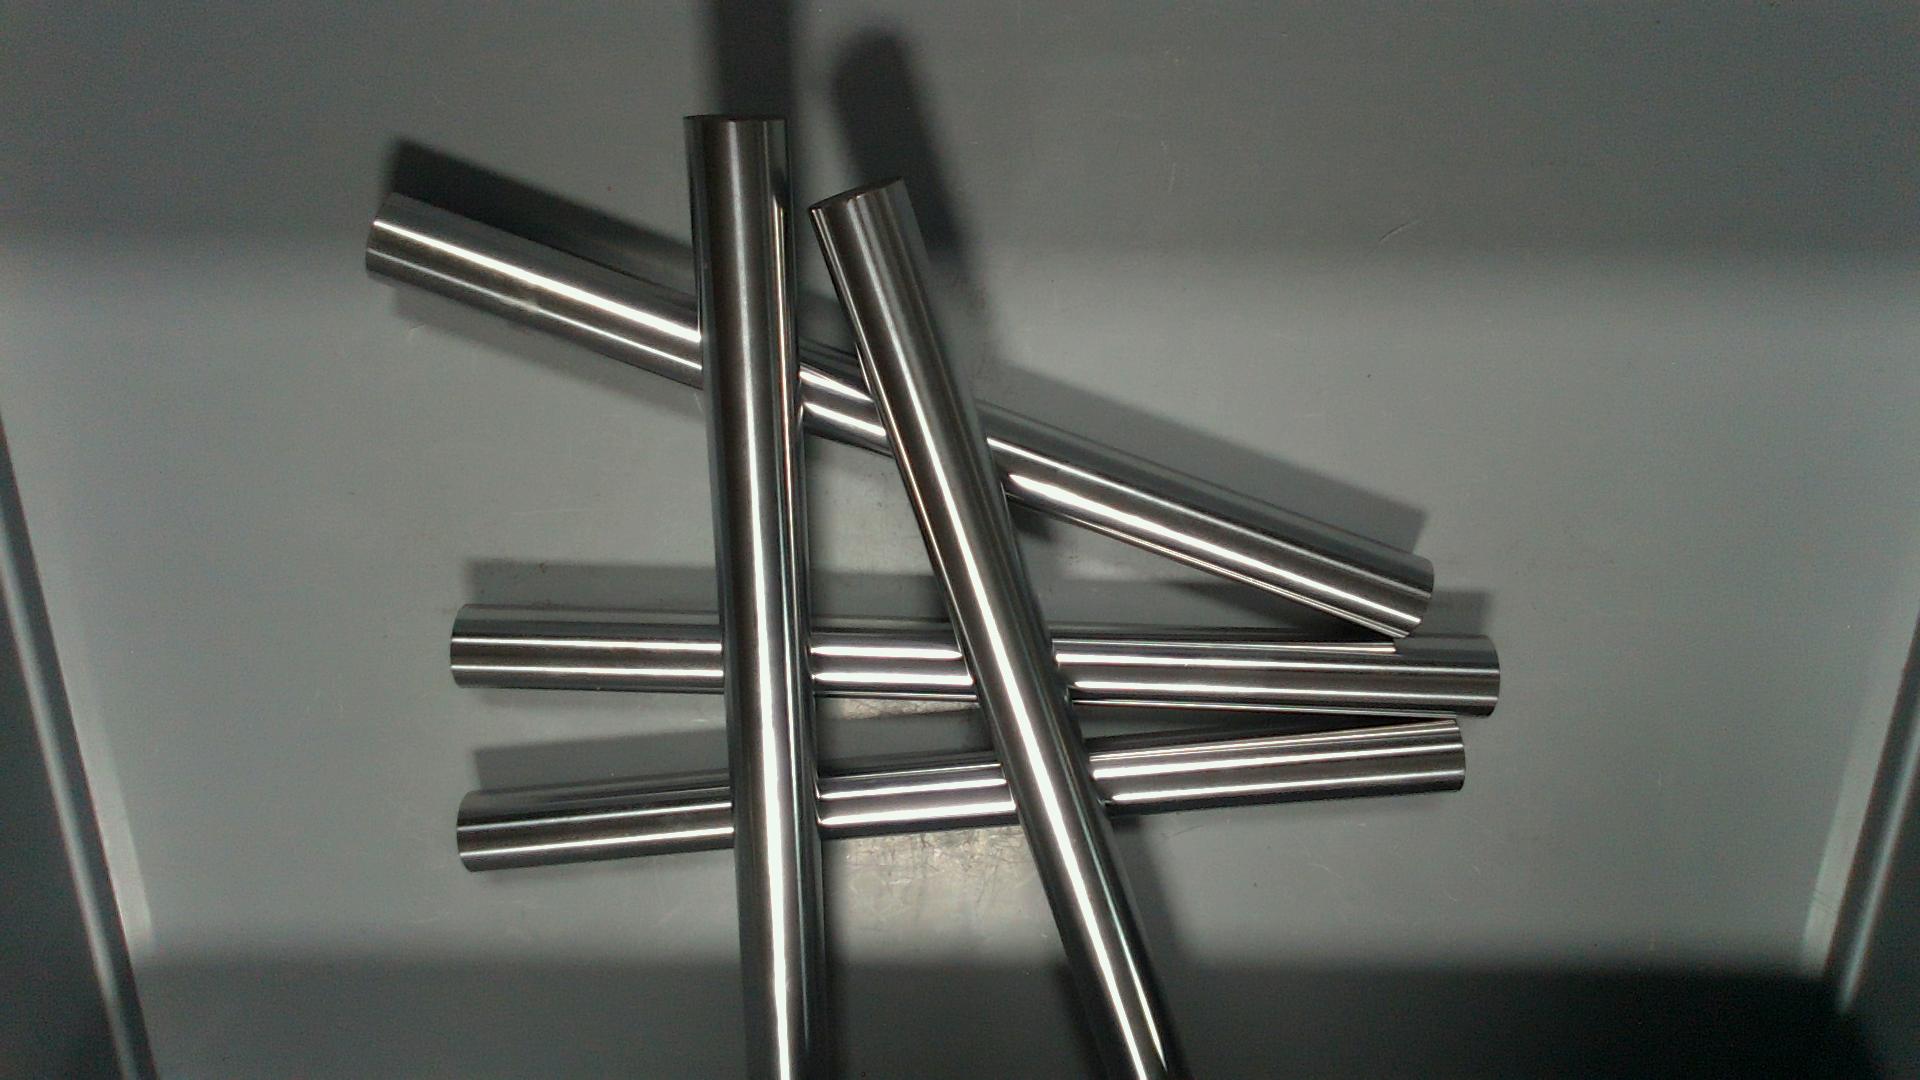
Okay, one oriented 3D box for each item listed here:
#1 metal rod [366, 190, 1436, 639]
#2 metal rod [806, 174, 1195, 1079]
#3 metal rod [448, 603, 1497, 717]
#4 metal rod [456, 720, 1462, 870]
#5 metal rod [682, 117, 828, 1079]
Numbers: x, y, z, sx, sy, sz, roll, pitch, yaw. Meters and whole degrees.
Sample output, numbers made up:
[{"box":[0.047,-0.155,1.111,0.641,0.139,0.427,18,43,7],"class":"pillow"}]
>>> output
[{"box":[-0.010,-0.032,0.381,0.300,0.025,0.025,19,109,-7],"class":"metal rod"},{"box":[0.020,0.049,0.384,0.025,0.025,0.300,-17,109,6],"class":"metal rod"},{"box":[0.005,0.036,0.405,0.300,0.025,0.025,2,110,-1],"class":"metal rod"},{"box":[-0.001,0.077,0.421,0.300,0.025,0.025,-5,110,2],"class":"metal rod"},{"box":[-0.053,0.040,0.380,0.025,0.025,0.300,0,110,0],"class":"metal rod"}]
